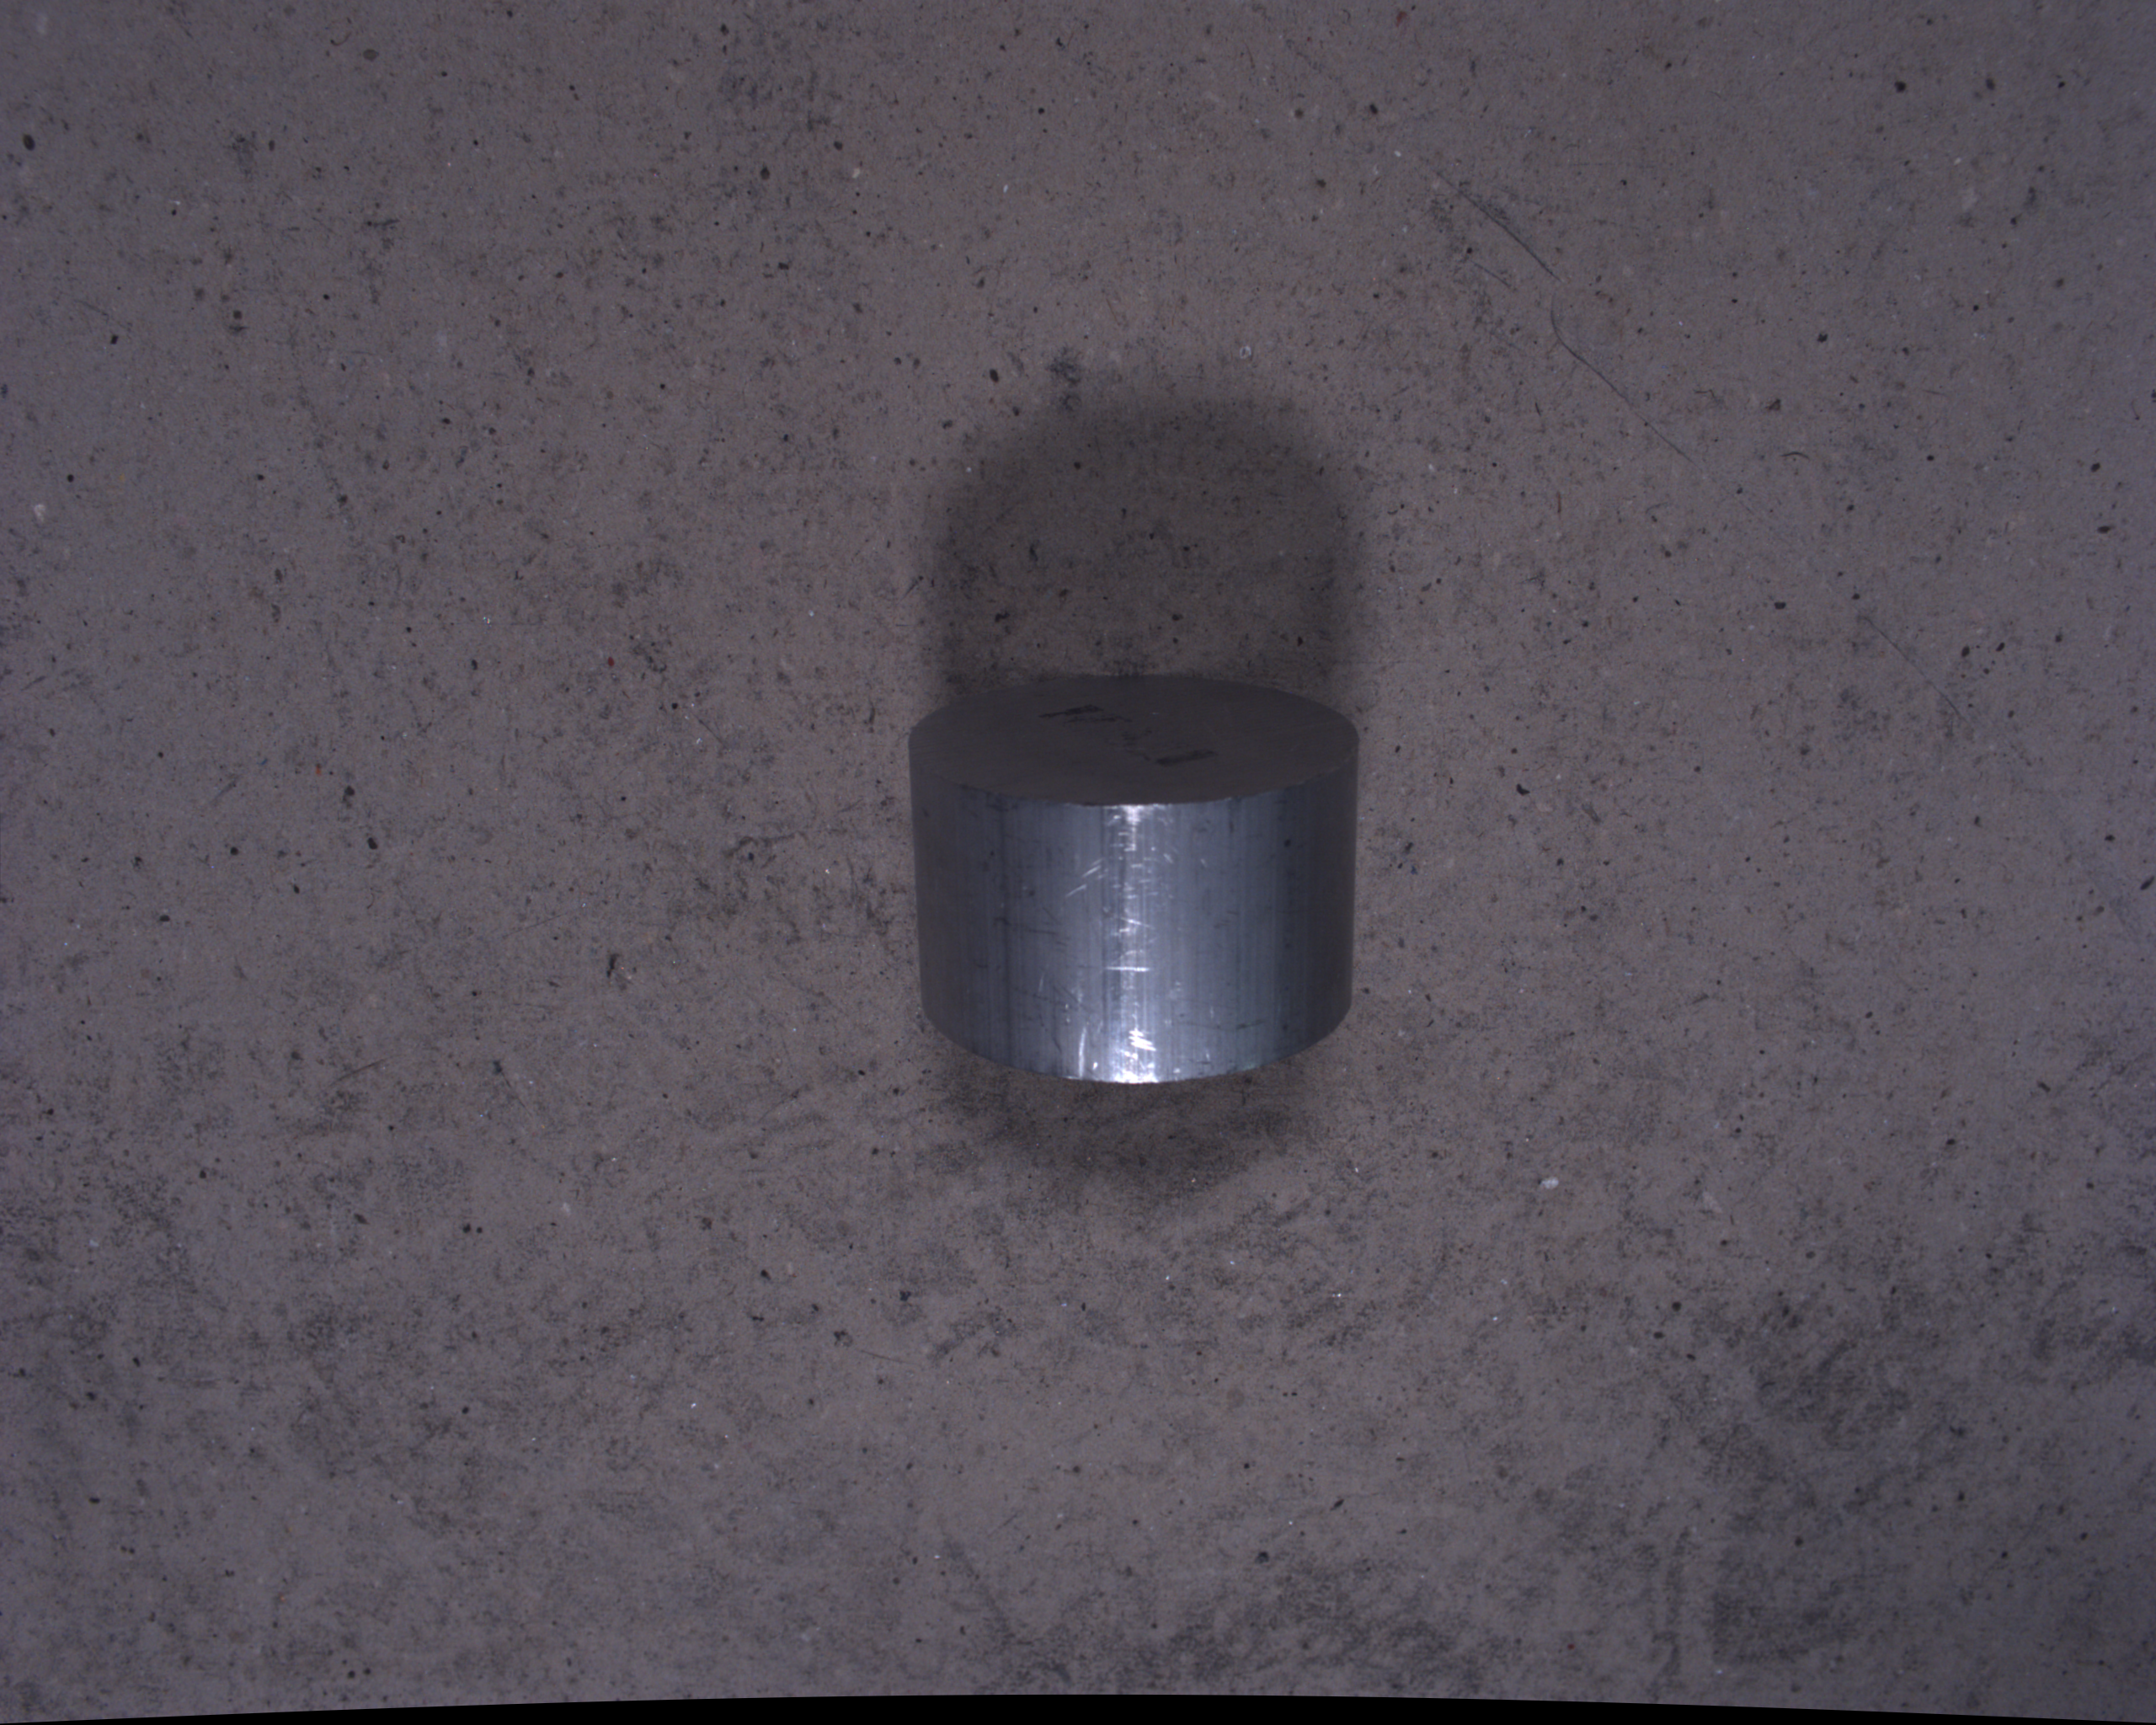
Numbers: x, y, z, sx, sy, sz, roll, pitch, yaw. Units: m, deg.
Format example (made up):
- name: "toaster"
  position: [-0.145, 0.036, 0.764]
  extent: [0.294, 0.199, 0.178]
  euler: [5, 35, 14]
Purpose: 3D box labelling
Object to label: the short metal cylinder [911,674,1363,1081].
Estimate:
- name: "short metal cylinder"
  position: [0.011, 0.000, 0.382]
  extent: [0.081, 0.080, 0.050]
  euler: [-1, 110, 0]
